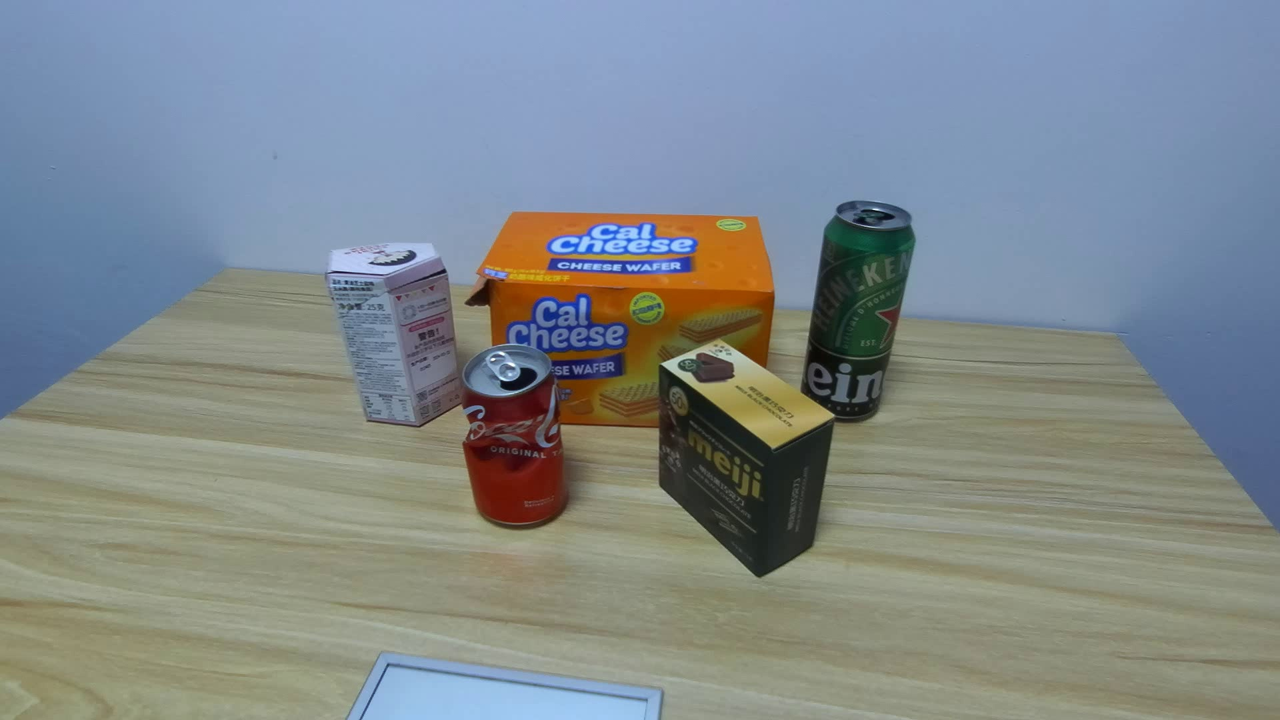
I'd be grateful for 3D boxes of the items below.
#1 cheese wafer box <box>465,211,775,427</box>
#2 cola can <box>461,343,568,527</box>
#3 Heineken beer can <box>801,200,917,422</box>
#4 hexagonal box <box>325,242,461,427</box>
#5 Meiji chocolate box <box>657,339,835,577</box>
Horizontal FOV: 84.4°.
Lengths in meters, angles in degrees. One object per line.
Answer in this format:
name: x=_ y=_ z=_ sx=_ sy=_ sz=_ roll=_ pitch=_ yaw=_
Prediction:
cheese wafer box: x=-0.009 y=-0.040 z=0.592 sx=0.227 sy=0.137 sz=0.149 roll=2 pitch=34 yaw=2
cola can: x=-0.084 y=0.051 z=0.471 sx=0.066 sy=0.117 sz=0.066 roll=-3 pitch=33 yaw=-5
Heineken beer can: x=0.169 y=-0.034 z=0.554 sx=0.067 sy=0.169 sz=0.067 roll=0 pitch=31 yaw=0
hexagonal box: x=-0.194 y=-0.023 z=0.569 sx=0.084 sy=0.135 sz=0.092 roll=25 pitch=40 yaw=33
Meiji chocolate box: x=0.064 y=0.062 z=0.461 sx=0.056 sy=0.109 sz=0.109 roll=-22 pitch=39 yaw=-28
